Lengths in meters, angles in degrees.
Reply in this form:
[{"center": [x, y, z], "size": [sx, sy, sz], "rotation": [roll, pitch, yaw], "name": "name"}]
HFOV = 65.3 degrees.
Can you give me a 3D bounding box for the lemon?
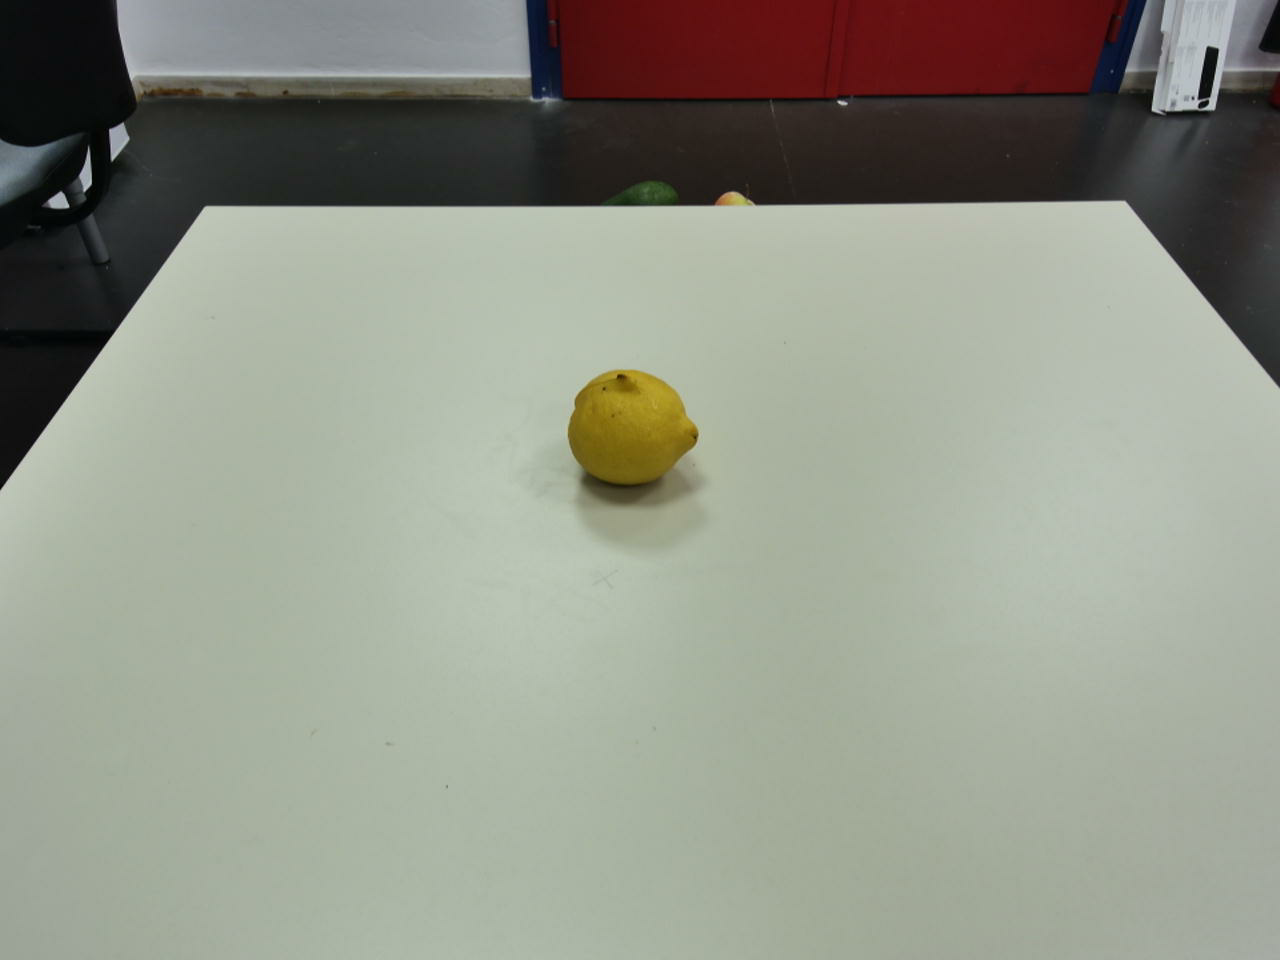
[{"center": [-0.007, -0.034, 0.592], "size": [0.070, 0.071, 0.071], "rotation": [-22, 45, -26], "name": "lemon"}]
